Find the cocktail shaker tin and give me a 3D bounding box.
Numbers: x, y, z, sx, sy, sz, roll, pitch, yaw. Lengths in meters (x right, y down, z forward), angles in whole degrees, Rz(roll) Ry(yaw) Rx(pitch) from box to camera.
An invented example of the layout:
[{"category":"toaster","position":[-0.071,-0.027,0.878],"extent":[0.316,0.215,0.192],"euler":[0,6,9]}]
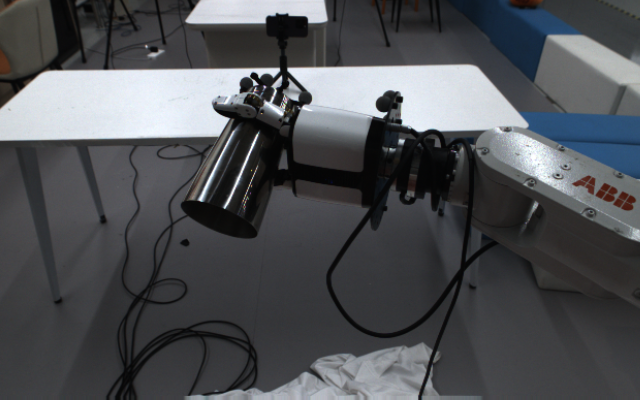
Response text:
[{"category":"cocktail shaker tin","position":[-0.085,-0.053,0.576],"extent":[0.093,0.093,0.170],"euler":[12,65,14]}]
